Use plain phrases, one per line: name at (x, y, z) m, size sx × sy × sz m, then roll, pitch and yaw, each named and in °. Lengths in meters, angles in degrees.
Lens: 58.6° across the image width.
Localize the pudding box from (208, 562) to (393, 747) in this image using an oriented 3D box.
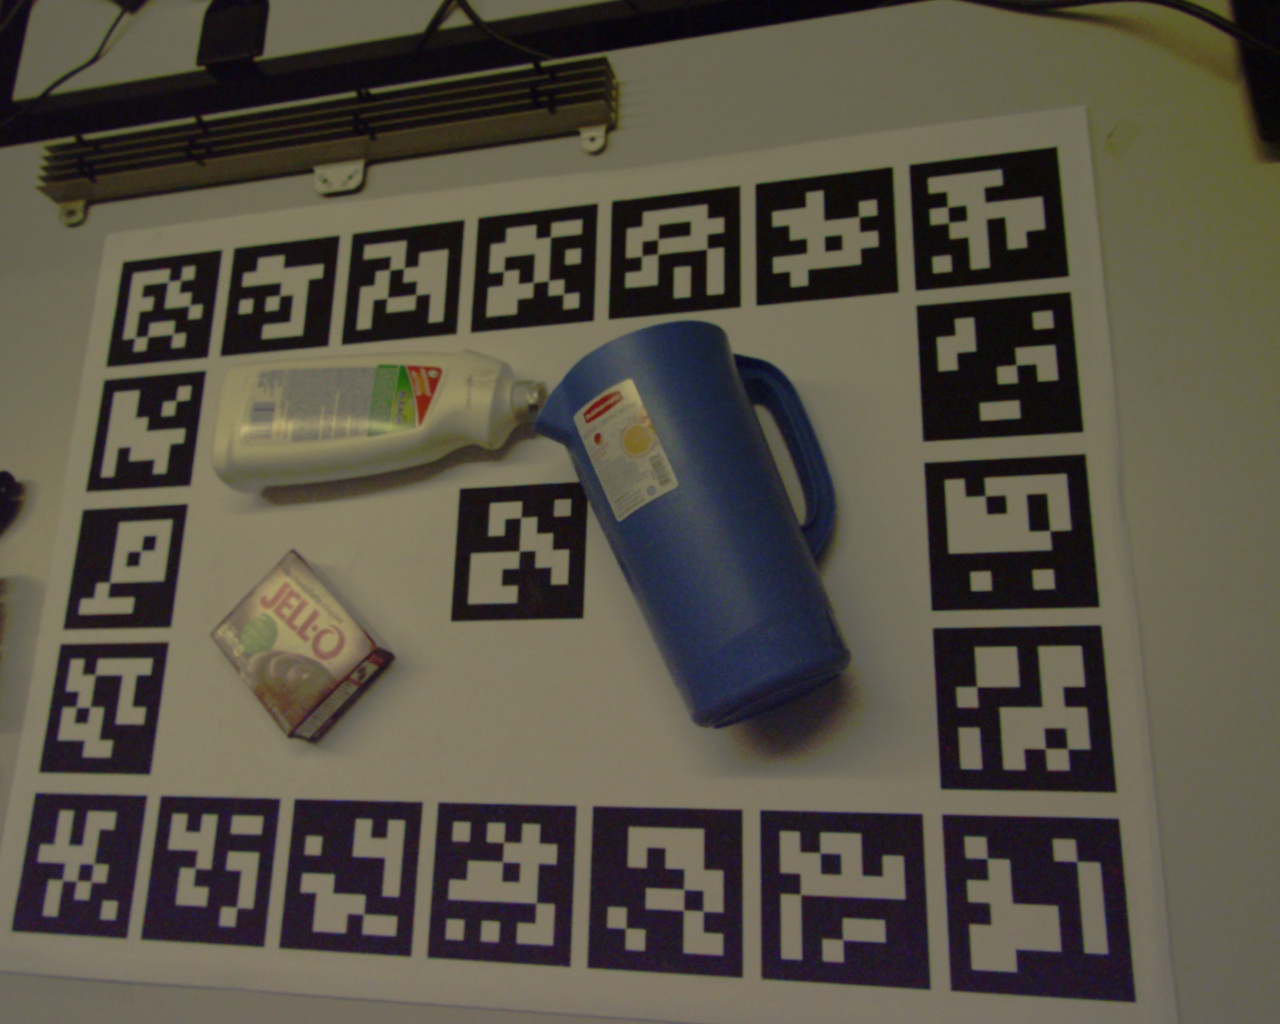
pudding box at (-0.258, 0.109, 0.869) m, size 0.090 × 0.038 × 0.115 m, roll -43°, pitch 70°, yaw -5°

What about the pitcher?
pitcher at (0.048, 0.024, 0.781) m, size 0.187 × 0.134 × 0.244 m, roll -17°, pitch 73°, yaw -26°

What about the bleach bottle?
bleach bottle at (-0.199, -0.064, 0.892) m, size 0.252 × 0.067 × 0.103 m, roll -5°, pitch 78°, yaw 12°
